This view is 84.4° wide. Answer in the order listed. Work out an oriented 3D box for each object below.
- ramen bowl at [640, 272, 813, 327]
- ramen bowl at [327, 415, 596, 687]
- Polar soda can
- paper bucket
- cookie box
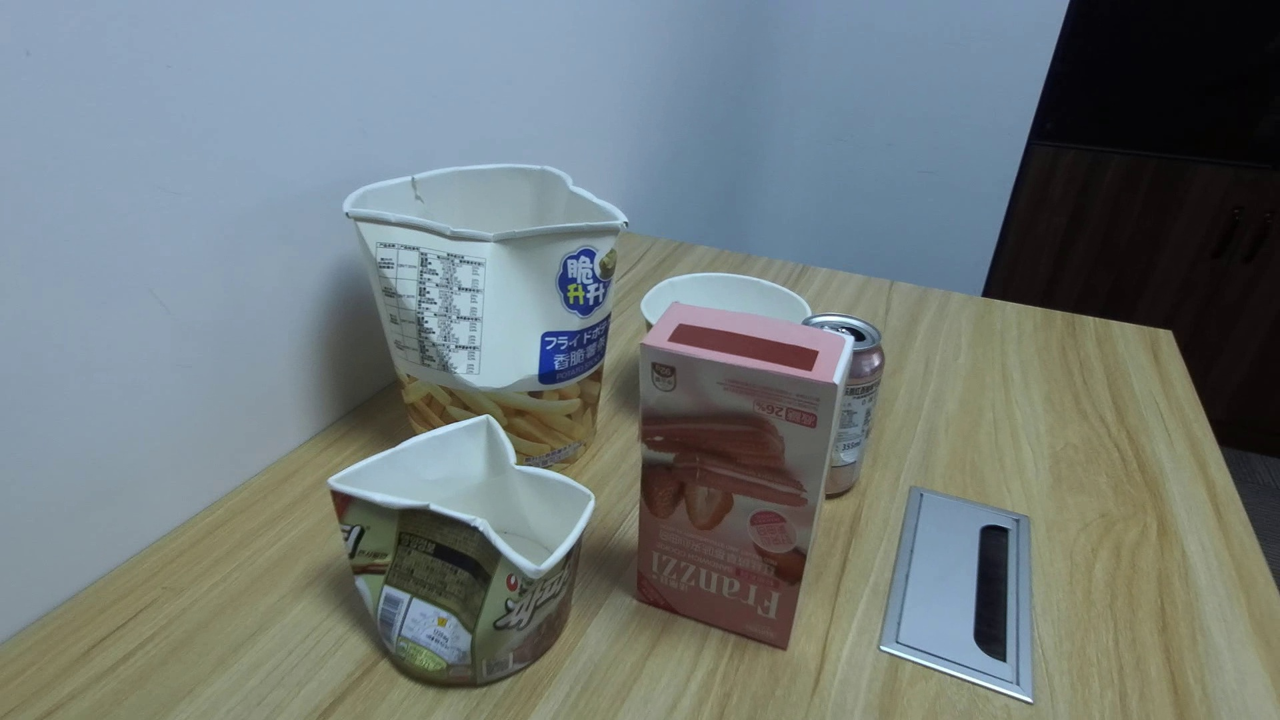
[{"bbox_3d":[0.067,-0.004,0.589,0.140,0.095,0.140,1,30,-1],"label":"ramen bowl"},{"bbox_3d":[-0.091,0.110,0.398,0.112,0.093,0.127,-25,40,-39],"label":"ramen bowl"},{"bbox_3d":[0.136,0.034,0.516,0.067,0.125,0.067,1,28,0],"label":"Polar soda can"},{"bbox_3d":[-0.114,-0.026,0.532,0.163,0.202,0.168,-14,30,-22],"label":"paper bucket"},{"bbox_3d":[0.047,0.065,0.385,0.105,0.187,0.049,13,34,19],"label":"cookie box"}]
